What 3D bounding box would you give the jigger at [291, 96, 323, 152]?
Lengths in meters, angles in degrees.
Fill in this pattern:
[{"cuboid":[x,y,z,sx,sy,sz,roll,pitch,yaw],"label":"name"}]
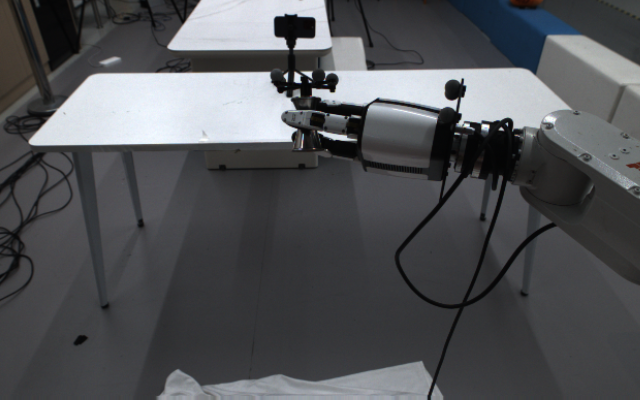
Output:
[{"cuboid":[-0.018,-0.098,0.631,0.043,0.071,0.043,-2,3,0],"label":"jigger"}]
